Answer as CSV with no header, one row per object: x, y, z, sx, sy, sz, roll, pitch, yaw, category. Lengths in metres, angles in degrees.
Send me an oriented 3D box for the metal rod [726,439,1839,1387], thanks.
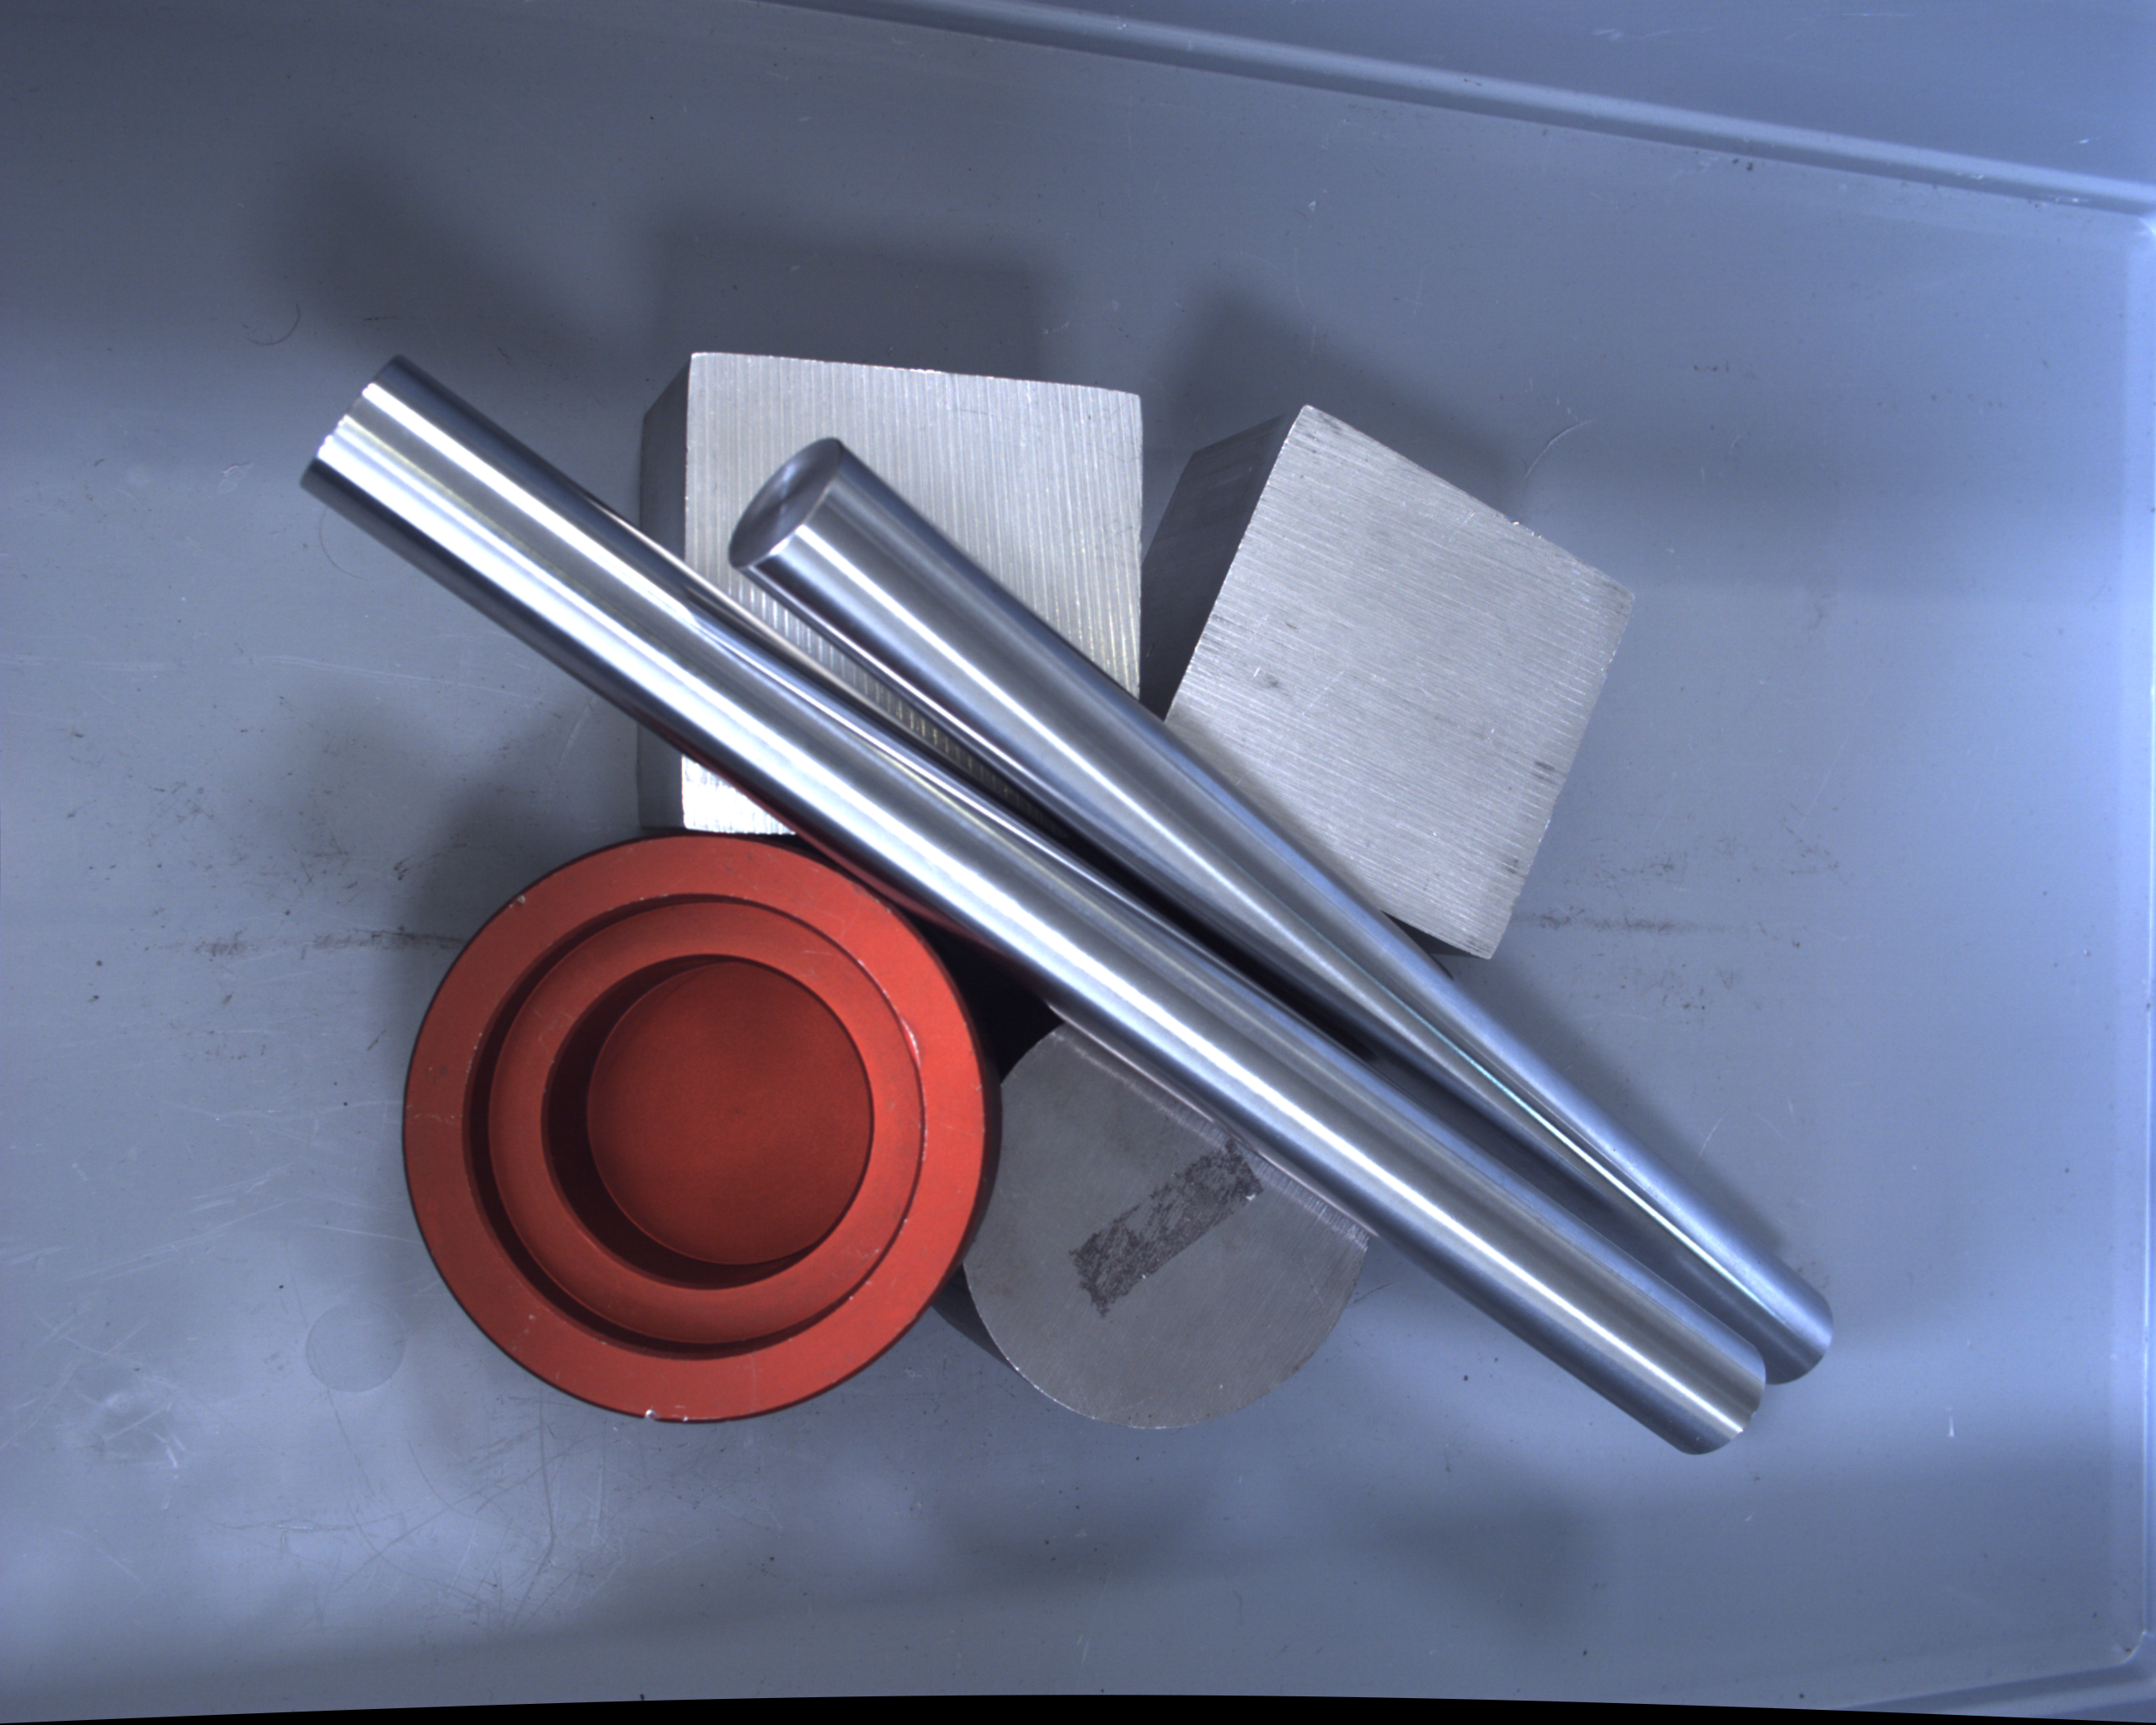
0.057,0.026,0.390,0.301,0.025,0.025,38,78,-31,metal rod

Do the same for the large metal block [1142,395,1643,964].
0.052,-0.034,0.414,0.080,0.050,0.080,26,82,-18,large metal block

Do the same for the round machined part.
-0.062,0.045,0.365,0.099,0.042,0.097,0,87,3,round machined part

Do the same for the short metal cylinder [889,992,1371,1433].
0.009,0.062,0.398,0.081,0.050,0.079,0,90,-20,short metal cylinder

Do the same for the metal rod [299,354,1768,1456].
0.007,0.019,0.357,0.301,0.025,0.025,36,78,-18,metal rod

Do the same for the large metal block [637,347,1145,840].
-0.035,-0.044,0.379,0.081,0.050,0.079,1,90,-20,large metal block
